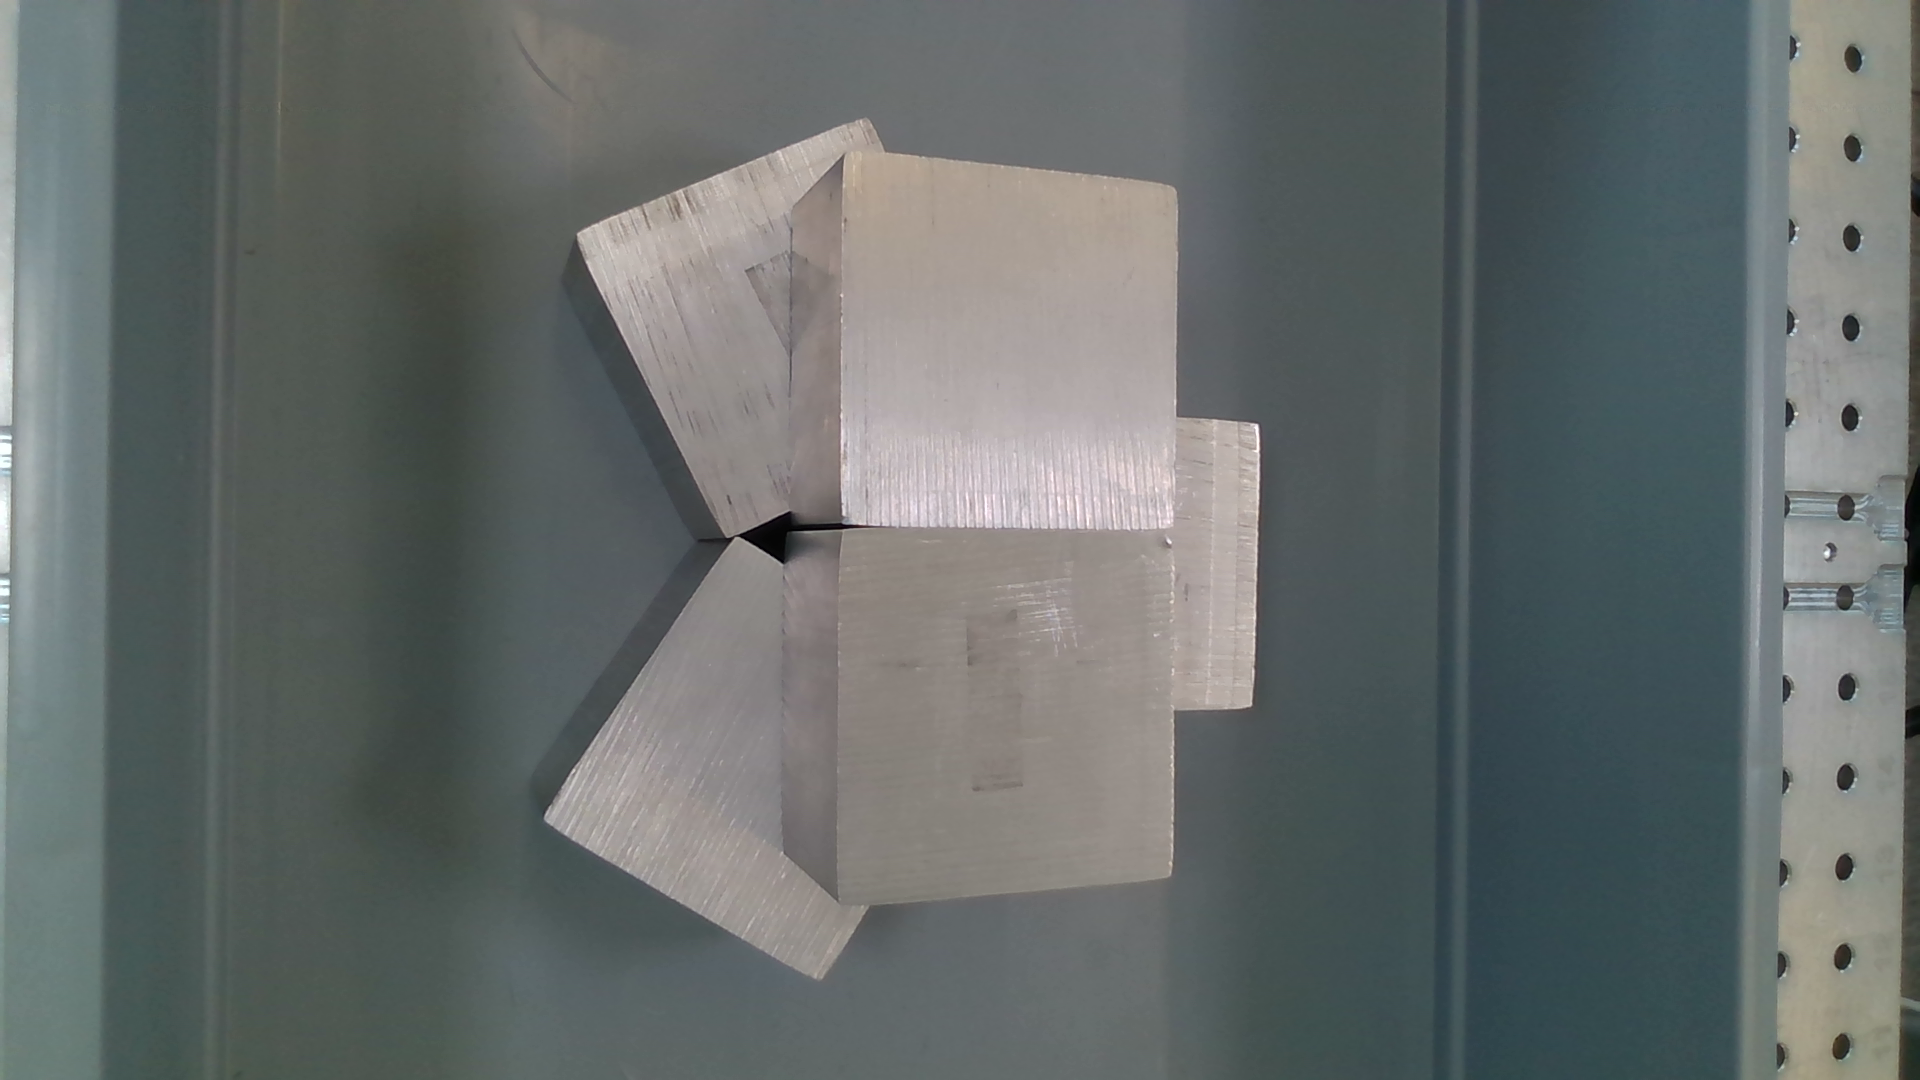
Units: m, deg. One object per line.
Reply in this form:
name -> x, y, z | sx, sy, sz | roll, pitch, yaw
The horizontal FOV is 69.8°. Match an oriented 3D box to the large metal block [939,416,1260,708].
large metal block -> 0.037, 0.006, 0.393 | 0.080, 0.050, 0.080 | 2, 90, -20

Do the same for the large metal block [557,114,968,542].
large metal block -> -0.048, -0.053, 0.362 | 0.080, 0.050, 0.080 | -28, 99, -18

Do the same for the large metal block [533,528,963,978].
large metal block -> -0.053, 0.053, 0.359 | 0.080, 0.050, 0.080 | 36, 78, -17

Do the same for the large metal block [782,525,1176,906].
large metal block -> 0.003, 0.037, 0.326 | 0.080, 0.050, 0.080 | 1, 90, -20

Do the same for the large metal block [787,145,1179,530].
large metal block -> 0.004, -0.043, 0.328 | 0.080, 0.050, 0.080 | 1, 90, -20
